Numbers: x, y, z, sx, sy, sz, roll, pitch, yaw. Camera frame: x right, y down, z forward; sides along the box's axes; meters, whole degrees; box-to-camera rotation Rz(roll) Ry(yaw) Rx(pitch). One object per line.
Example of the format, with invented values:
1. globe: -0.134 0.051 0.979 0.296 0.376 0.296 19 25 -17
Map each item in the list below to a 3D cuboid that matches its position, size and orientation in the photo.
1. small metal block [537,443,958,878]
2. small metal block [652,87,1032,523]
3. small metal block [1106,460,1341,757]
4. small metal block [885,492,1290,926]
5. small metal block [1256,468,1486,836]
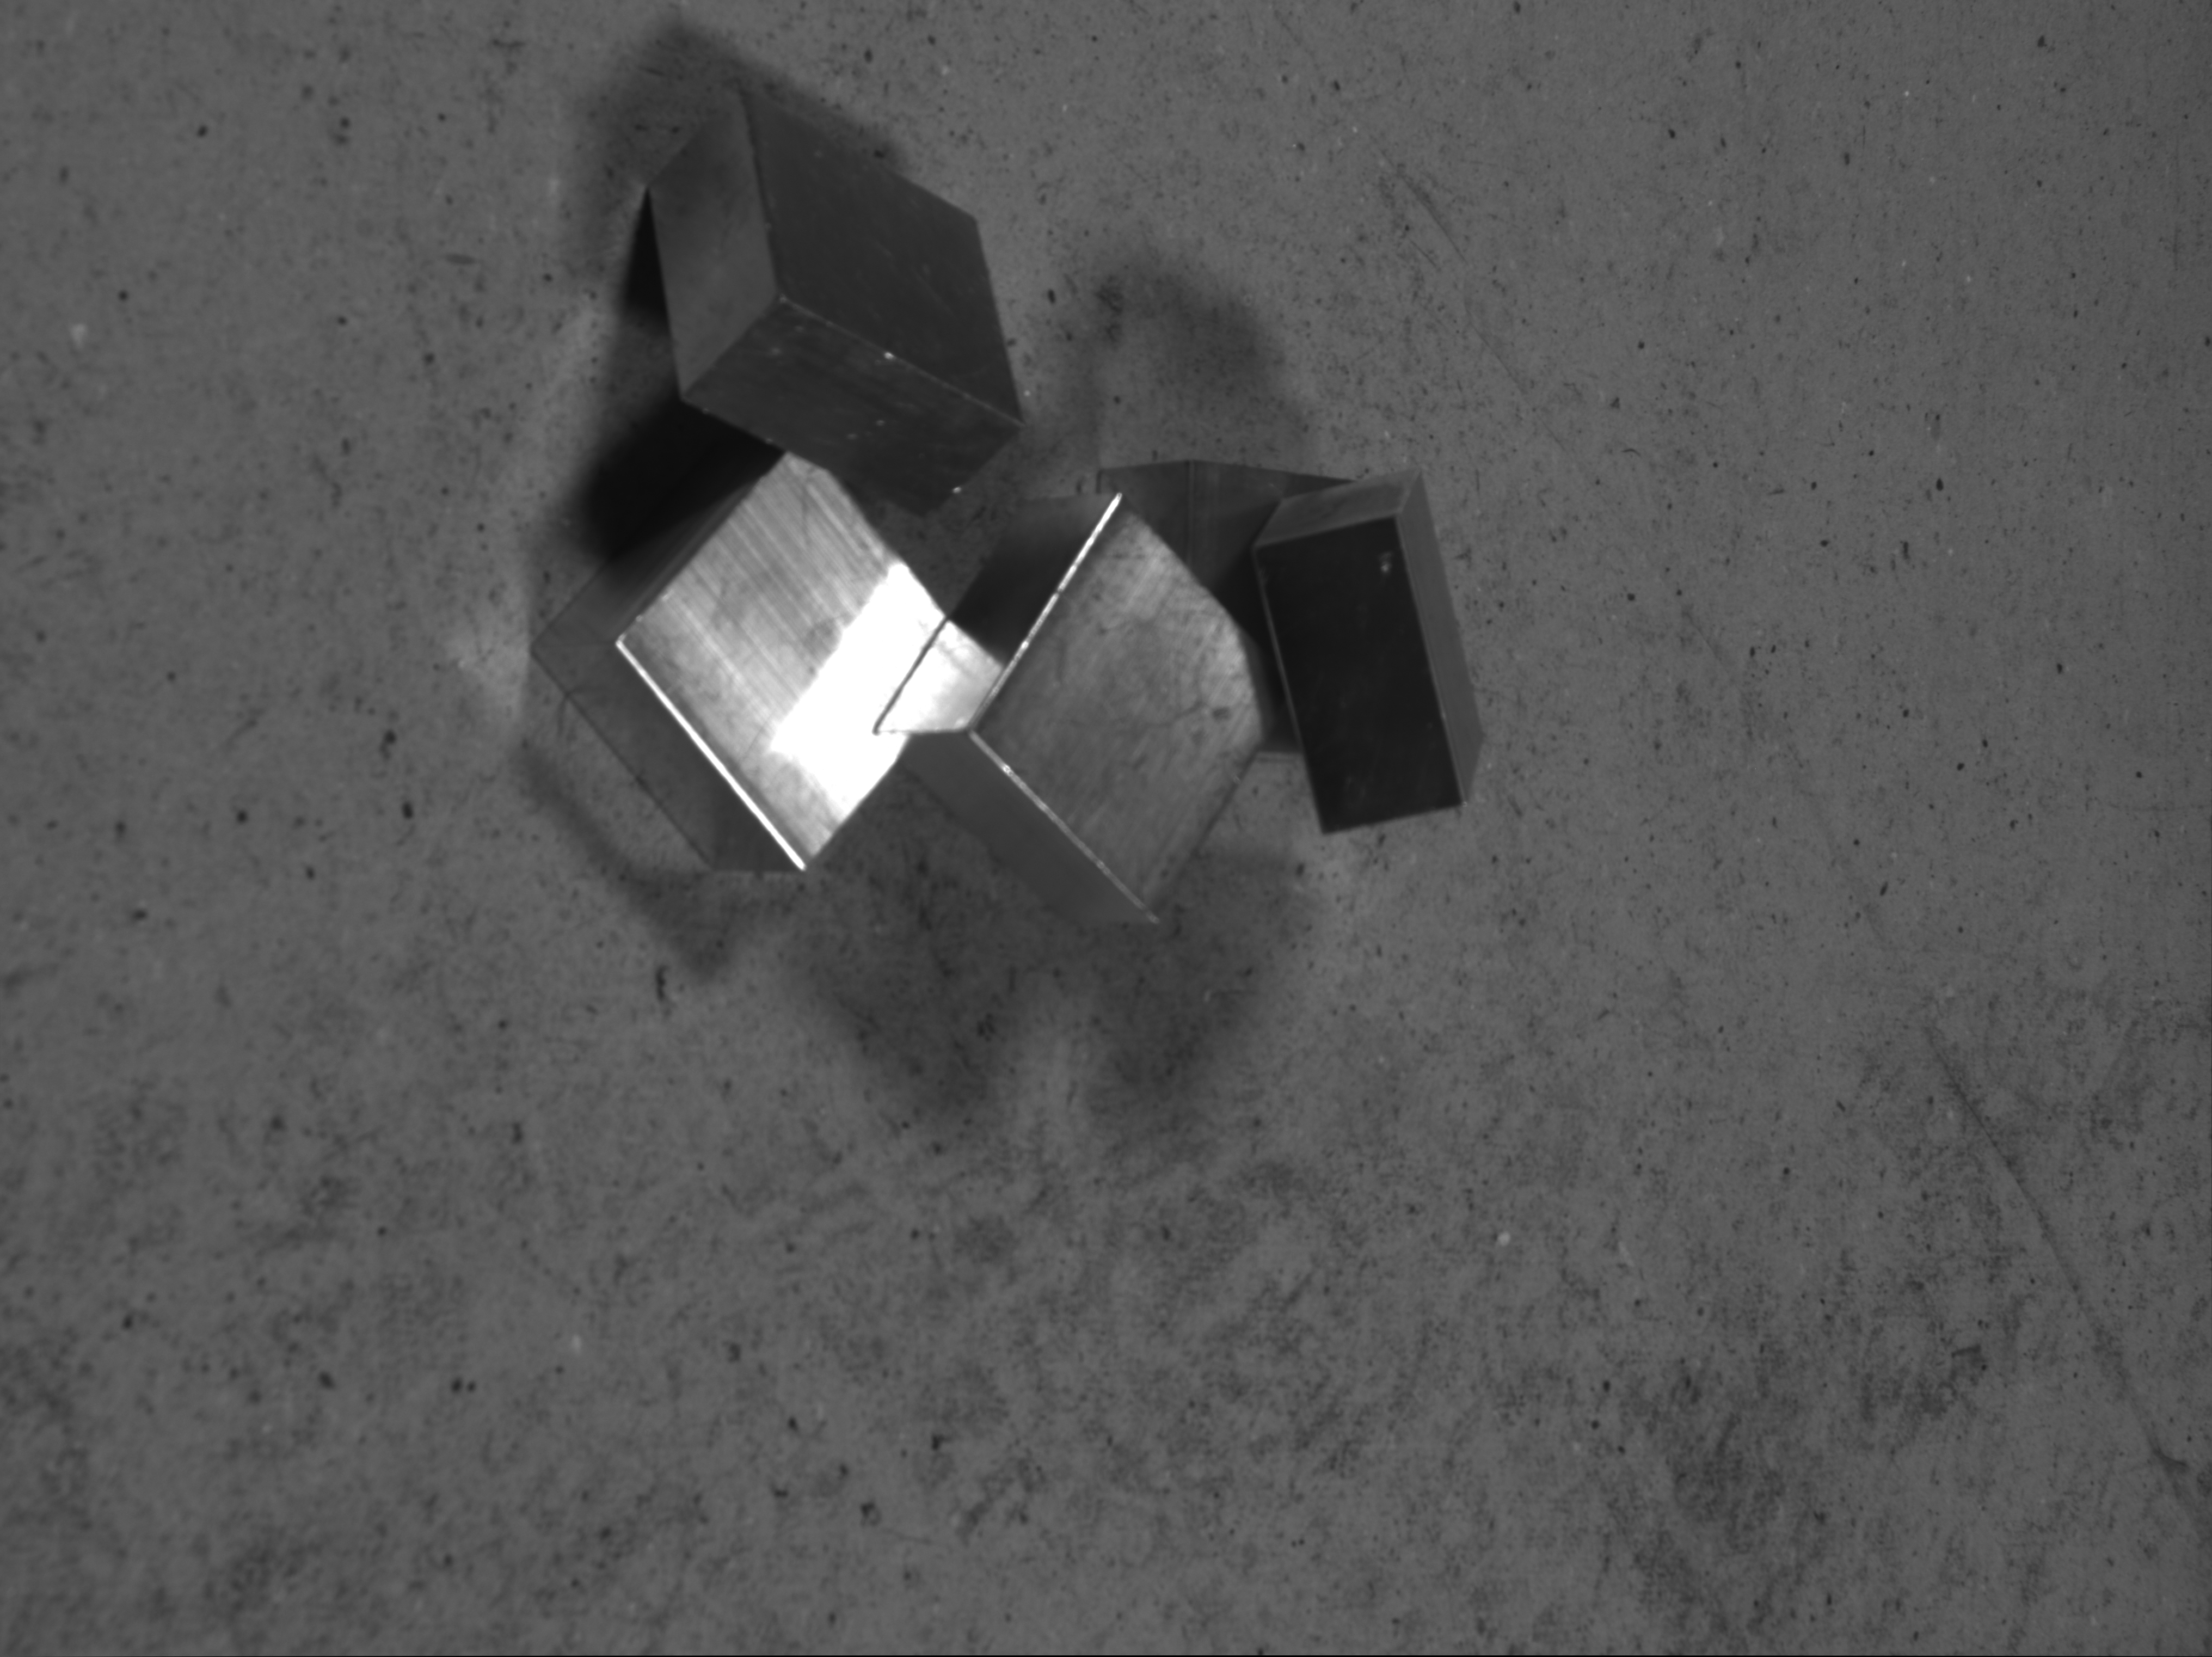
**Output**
1. small metal block: -0.055 -0.028 0.591 0.050 0.025 0.050 -52 120 -27
2. small metal block: -0.043 -0.084 0.587 0.050 0.025 0.050 24 38 -37
3. small metal block: 0.027 -0.038 0.660 0.050 0.025 0.050 3 88 -40
4. small metal block: -0.001 -0.019 0.603 0.050 0.025 0.050 45 63 -30
5. small metal block: 0.047 -0.031 0.628 0.050 0.025 0.050 -58 135 -73
